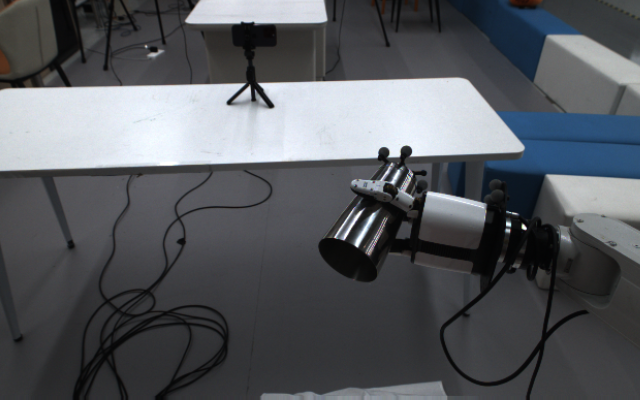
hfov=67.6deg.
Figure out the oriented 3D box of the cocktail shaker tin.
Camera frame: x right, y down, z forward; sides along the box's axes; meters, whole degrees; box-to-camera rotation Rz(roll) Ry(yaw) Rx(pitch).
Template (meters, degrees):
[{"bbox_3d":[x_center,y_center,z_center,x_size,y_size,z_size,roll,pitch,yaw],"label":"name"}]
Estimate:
[{"bbox_3d":[0.081,0.019,0.700,0.093,0.093,0.170,19,55,22],"label":"cocktail shaker tin"}]
